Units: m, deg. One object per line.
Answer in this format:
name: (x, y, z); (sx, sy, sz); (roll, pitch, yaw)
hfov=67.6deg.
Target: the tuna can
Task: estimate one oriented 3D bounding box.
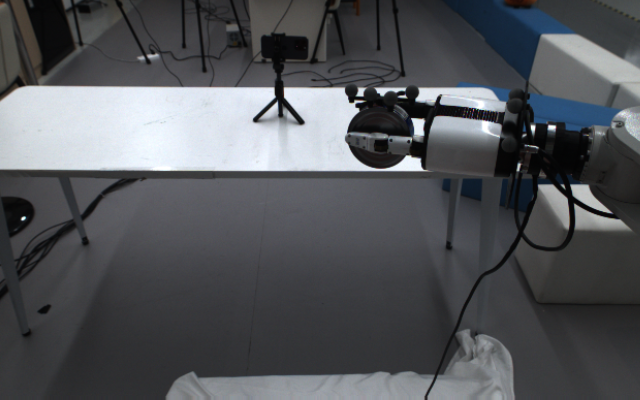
tuna can: (0.083, -0.091, 0.649); (0.085, 0.085, 0.034); (13, 29, 16)
